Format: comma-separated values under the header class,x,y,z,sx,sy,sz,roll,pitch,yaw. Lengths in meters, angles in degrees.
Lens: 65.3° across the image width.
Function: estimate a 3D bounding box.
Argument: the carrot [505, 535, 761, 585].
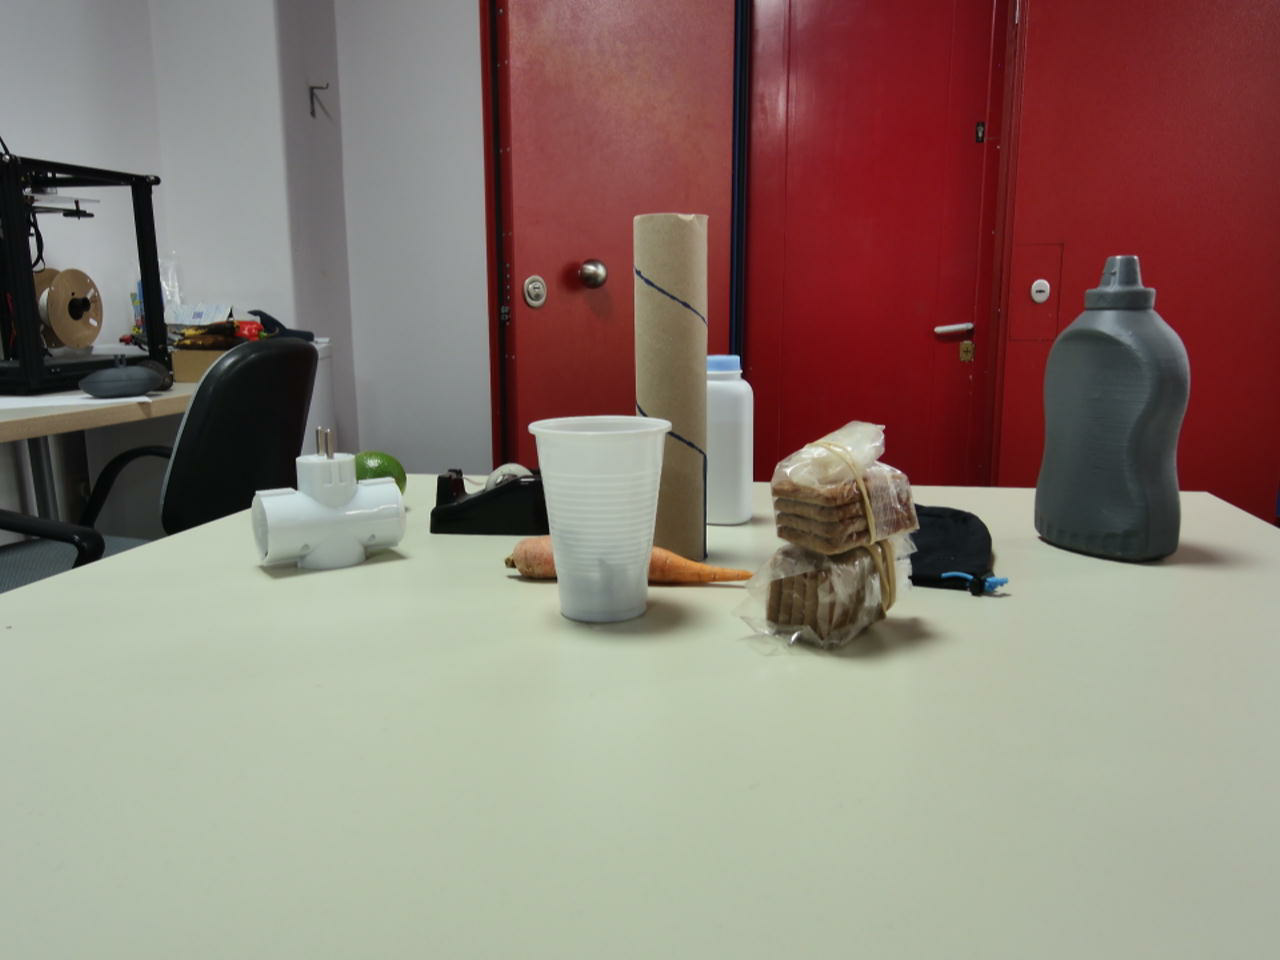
class,x,y,z,sx,sy,sz,roll,pitch,yaw
carrot,-0.007,0.050,0.625,0.163,0.029,0.031,2,8,11
